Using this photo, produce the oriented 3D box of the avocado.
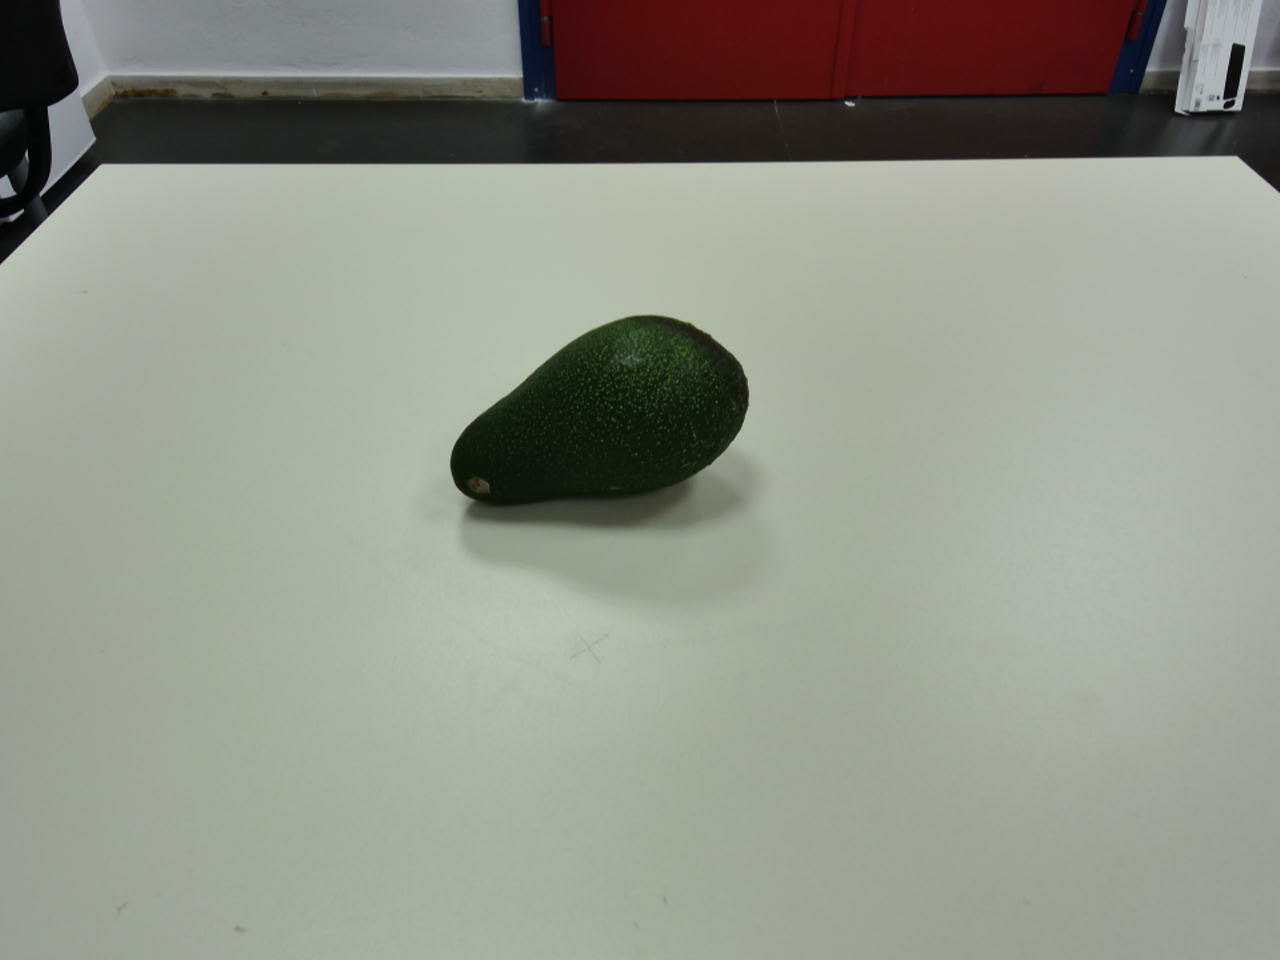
[{"bbox_3d":[-0.016,-0.032,0.423,0.123,0.076,0.074,4,39,5],"label":"avocado"}]
